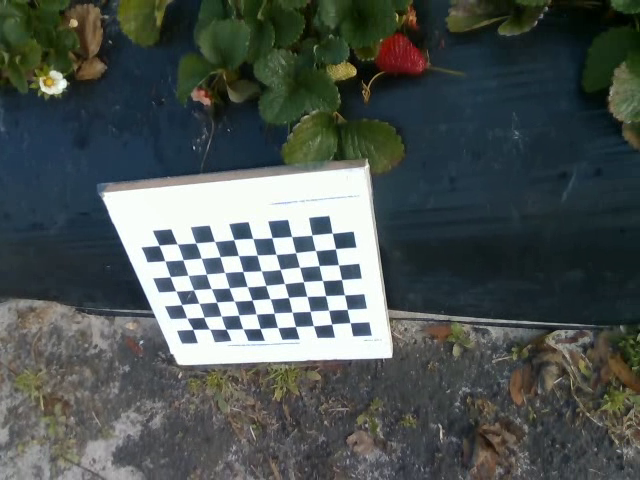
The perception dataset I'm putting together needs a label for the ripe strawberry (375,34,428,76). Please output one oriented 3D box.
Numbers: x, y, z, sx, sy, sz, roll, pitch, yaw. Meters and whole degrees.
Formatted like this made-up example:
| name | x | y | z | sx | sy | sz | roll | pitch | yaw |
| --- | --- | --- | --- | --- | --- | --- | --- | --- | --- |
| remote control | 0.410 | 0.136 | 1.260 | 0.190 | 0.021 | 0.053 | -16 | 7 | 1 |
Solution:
| name | x | y | z | sx | sy | sz | roll | pitch | yaw |
| --- | --- | --- | --- | --- | --- | --- | --- | --- | --- |
| ripe strawberry | 0.065 | -0.171 | 0.621 | 0.064 | 0.051 | 0.043 | 23 | 35 | -5 |
